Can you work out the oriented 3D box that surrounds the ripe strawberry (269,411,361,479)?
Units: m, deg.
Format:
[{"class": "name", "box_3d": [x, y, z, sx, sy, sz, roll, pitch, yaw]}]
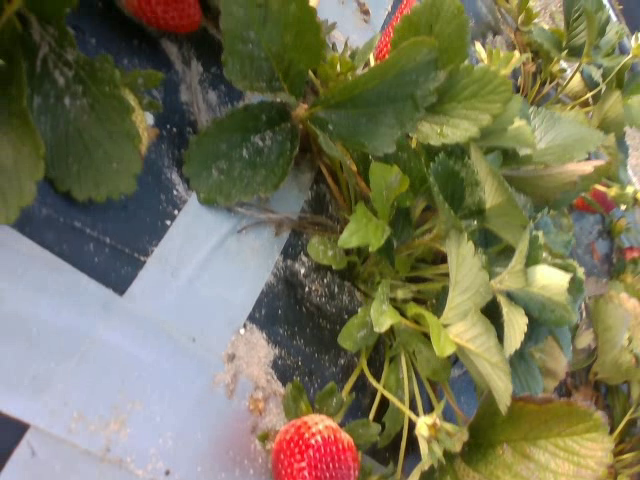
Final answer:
[{"class": "ripe strawberry", "box_3d": [-0.001, 0.047, 0.124, 0.021, 0.023, 0.026, -47, 6, 29]}]
